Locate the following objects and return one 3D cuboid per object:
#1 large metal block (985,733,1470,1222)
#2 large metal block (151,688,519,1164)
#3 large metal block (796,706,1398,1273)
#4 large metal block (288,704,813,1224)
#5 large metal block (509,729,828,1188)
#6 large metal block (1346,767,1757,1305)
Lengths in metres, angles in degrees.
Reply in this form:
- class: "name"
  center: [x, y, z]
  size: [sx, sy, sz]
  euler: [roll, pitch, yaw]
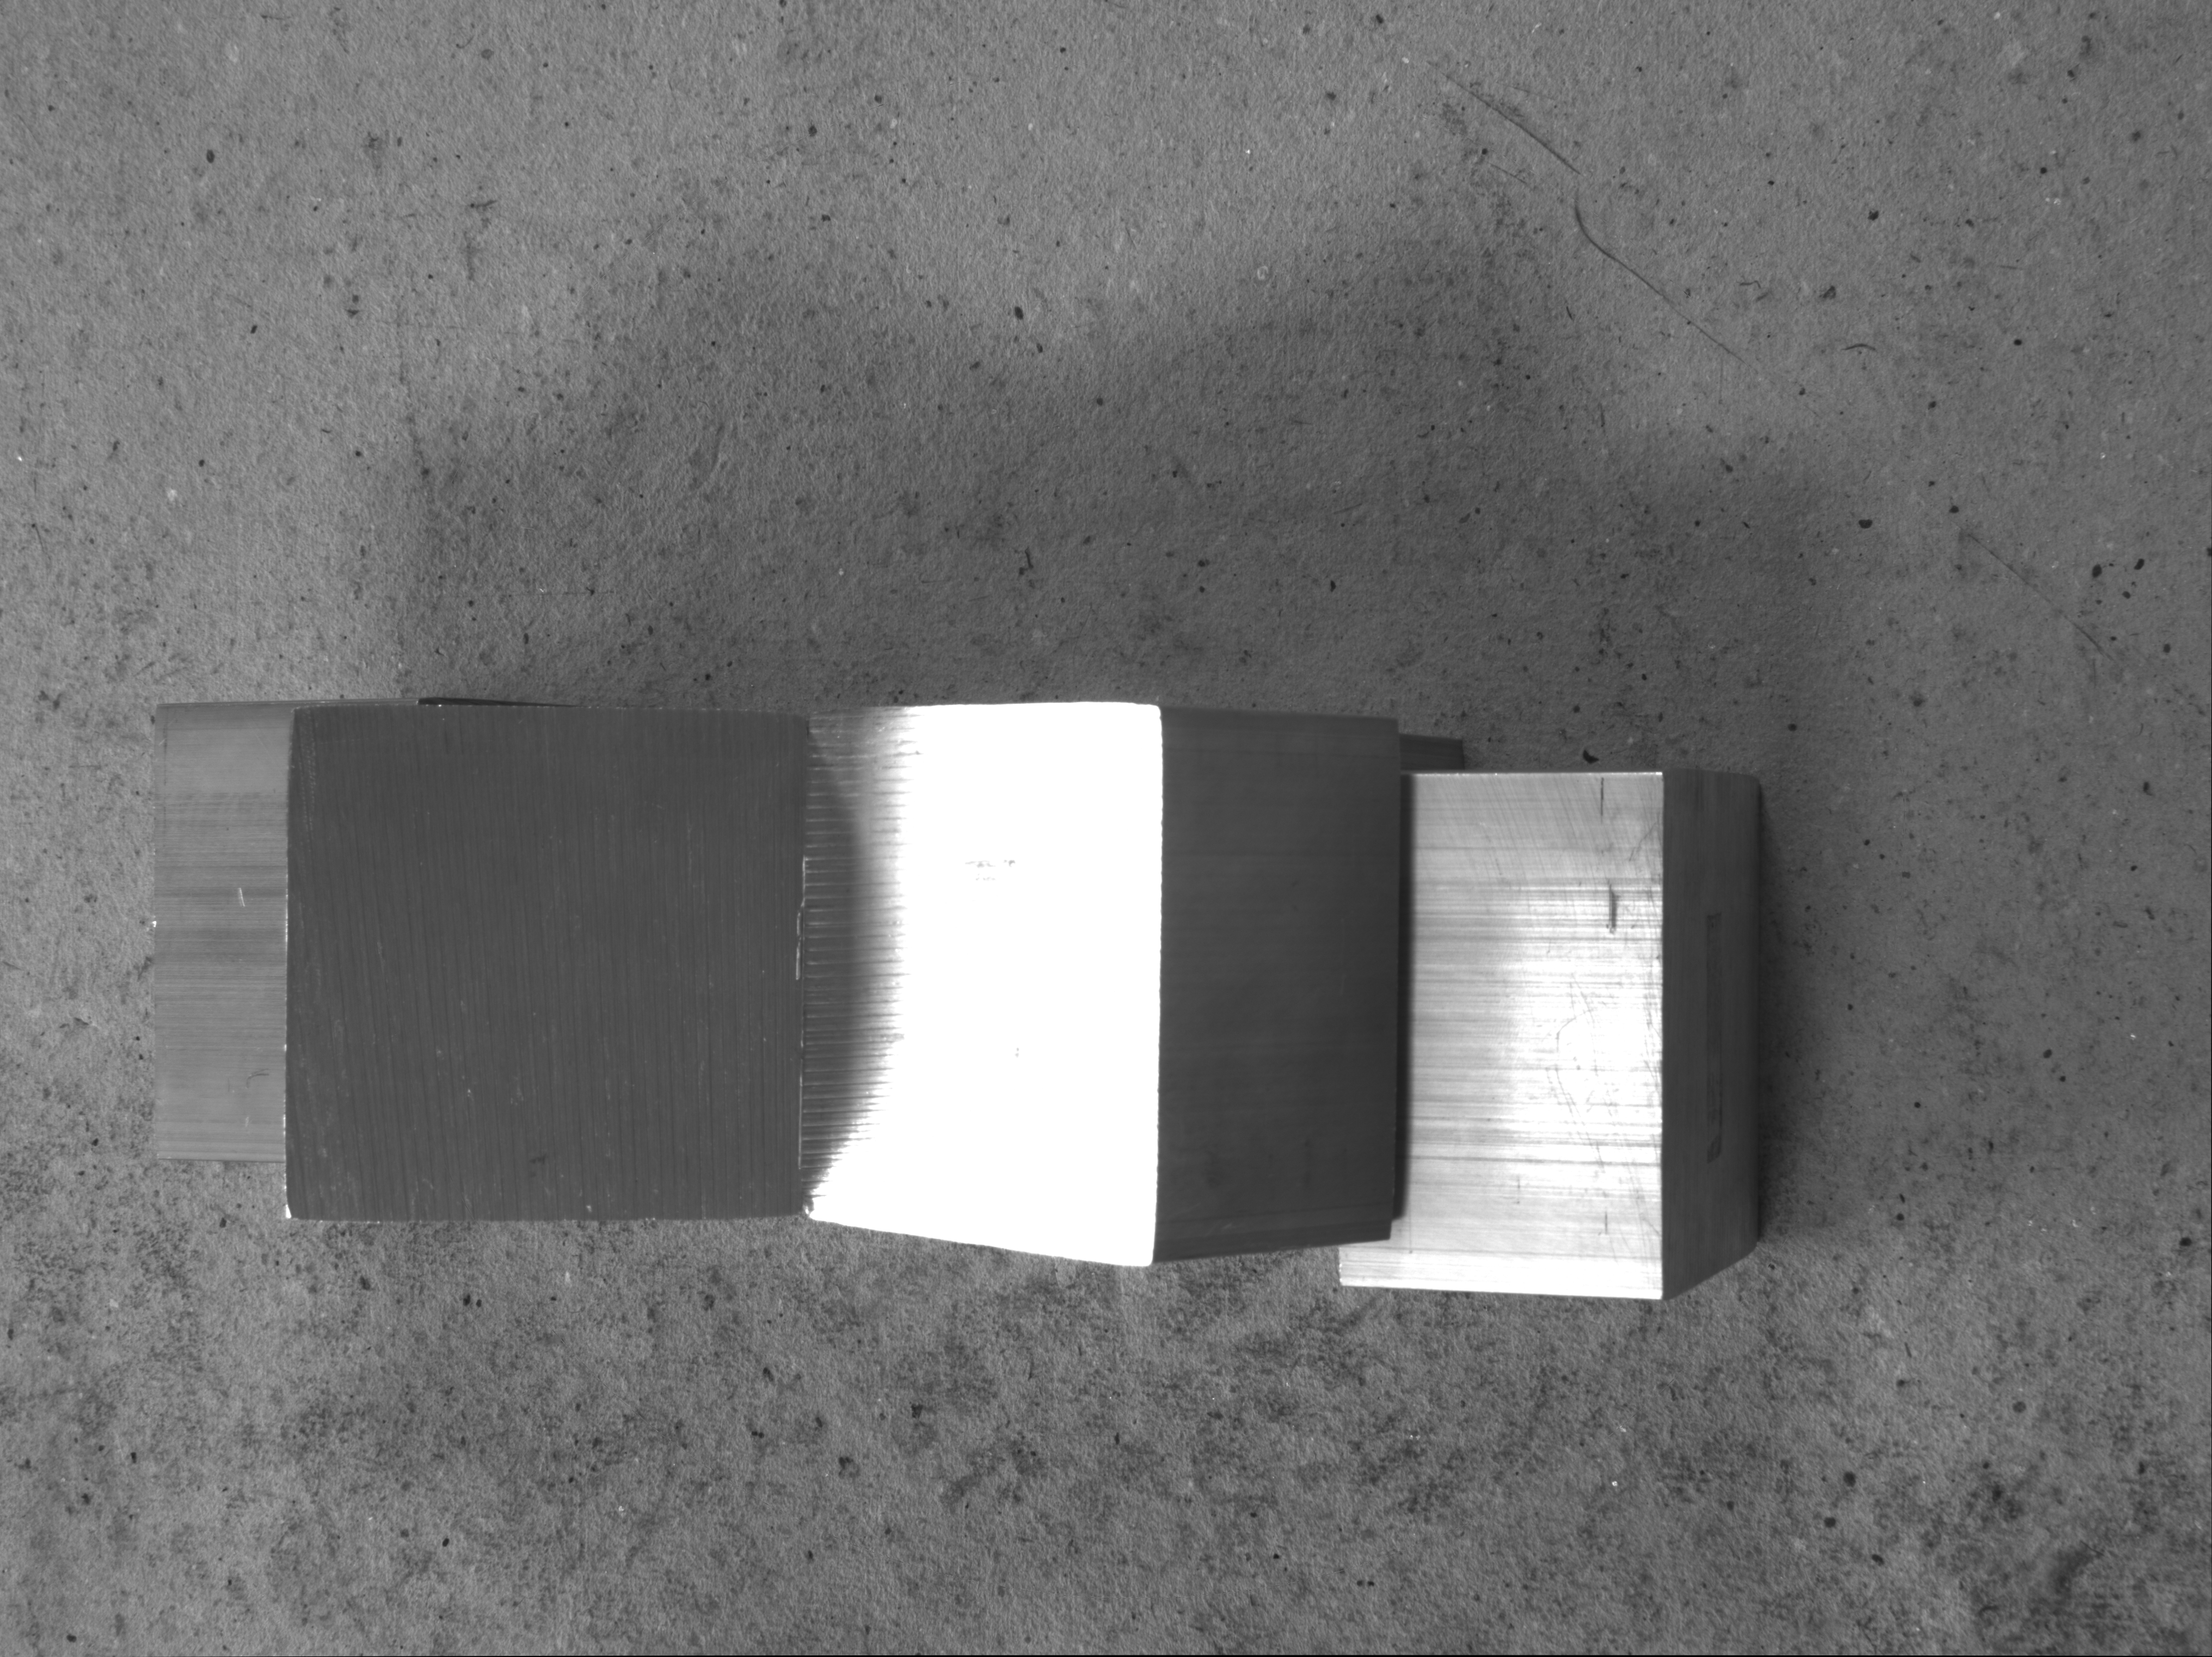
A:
- class: "large metal block"
  center: [0.017, 0.025, 0.626]
  size: [0.080, 0.050, 0.080]
  euler: [0, 90, 20]
- class: "large metal block"
  center: [-0.127, 0.017, 0.662]
  size: [0.050, 0.080, 0.080]
  euler: [-1, 89, 21]
- class: "large metal block"
  center: [-0.002, 0.023, 0.564]
  size: [0.080, 0.050, 0.080]
  euler: [1, 90, 47]
- class: "large metal block"
  center: [-0.090, 0.021, 0.595]
  size: [0.080, 0.050, 0.080]
  euler: [0, 90, -9]
- class: "large metal block"
  center: [-0.059, 0.022, 0.654]
  size: [0.080, 0.050, 0.080]
  euler: [0, 90, 20]
- class: "large metal block"
  center: [0.074, 0.031, 0.592]
  size: [0.050, 0.080, 0.080]
  euler: [0, 90, 19]
